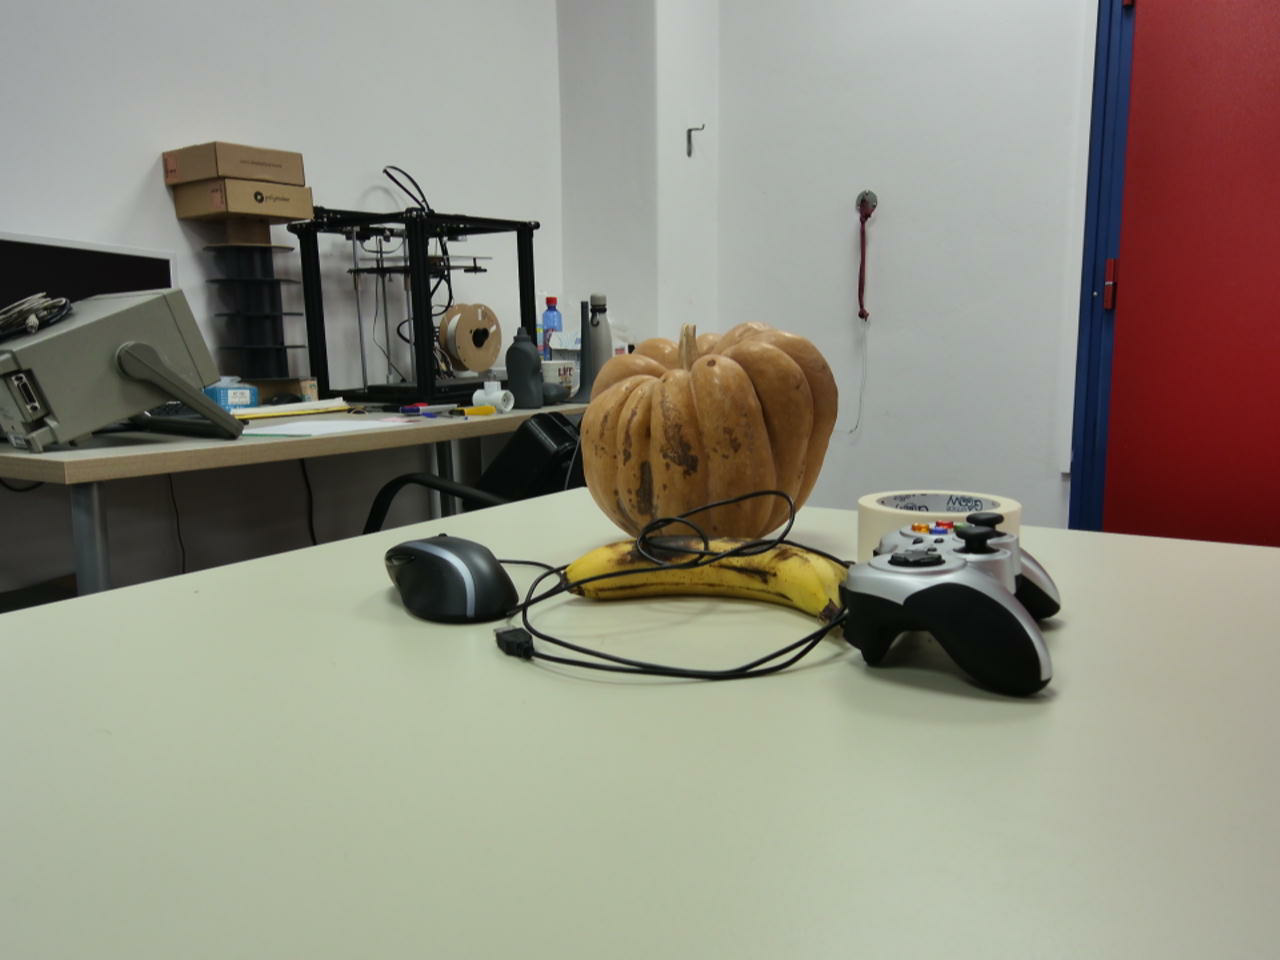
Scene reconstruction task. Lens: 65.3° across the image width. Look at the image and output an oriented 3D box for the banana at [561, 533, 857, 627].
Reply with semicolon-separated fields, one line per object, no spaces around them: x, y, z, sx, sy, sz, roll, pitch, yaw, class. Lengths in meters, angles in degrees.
0.050;0.058;0.611;0.187;0.039;0.094;4;7;33;banana
